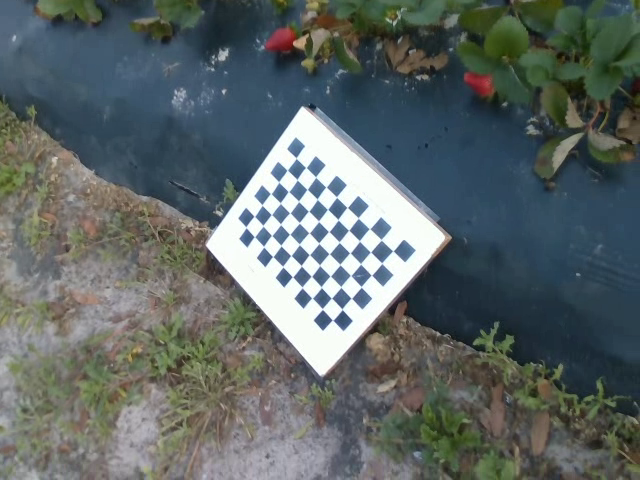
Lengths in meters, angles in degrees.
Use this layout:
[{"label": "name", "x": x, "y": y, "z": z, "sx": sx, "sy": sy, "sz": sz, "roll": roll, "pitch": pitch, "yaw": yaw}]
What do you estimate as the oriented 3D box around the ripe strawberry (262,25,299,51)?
[{"label": "ripe strawberry", "x": -0.062, "y": -0.315, "z": 1.024, "sx": 0.050, "sy": 0.034, "sz": 0.059, "roll": 34, "pitch": 57, "yaw": 29}]
